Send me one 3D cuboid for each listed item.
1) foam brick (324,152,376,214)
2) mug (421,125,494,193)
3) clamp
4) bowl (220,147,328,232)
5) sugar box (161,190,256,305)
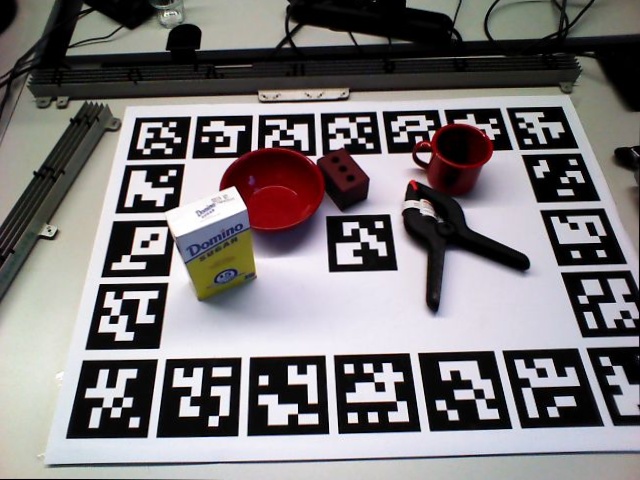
[{"bbox_3d":[0.047,-0.092,0.817,0.052,0.051,0.078,-27,63,-14],"label":"foam brick"},{"bbox_3d":[0.215,-0.131,0.812,0.117,0.082,0.092,22,61,9],"label":"mug"},{"bbox_3d":[0.188,-0.012,0.762,0.165,0.037,0.202,-23,62,-11],"label":"clamp"},{"bbox_3d":[-0.069,-0.068,0.795,0.162,0.055,0.160,0,59,0],"label":"bowl"},{"bbox_3d":[-0.137,0.016,0.674,0.092,0.177,0.045,-23,63,-15],"label":"sugar box"}]
